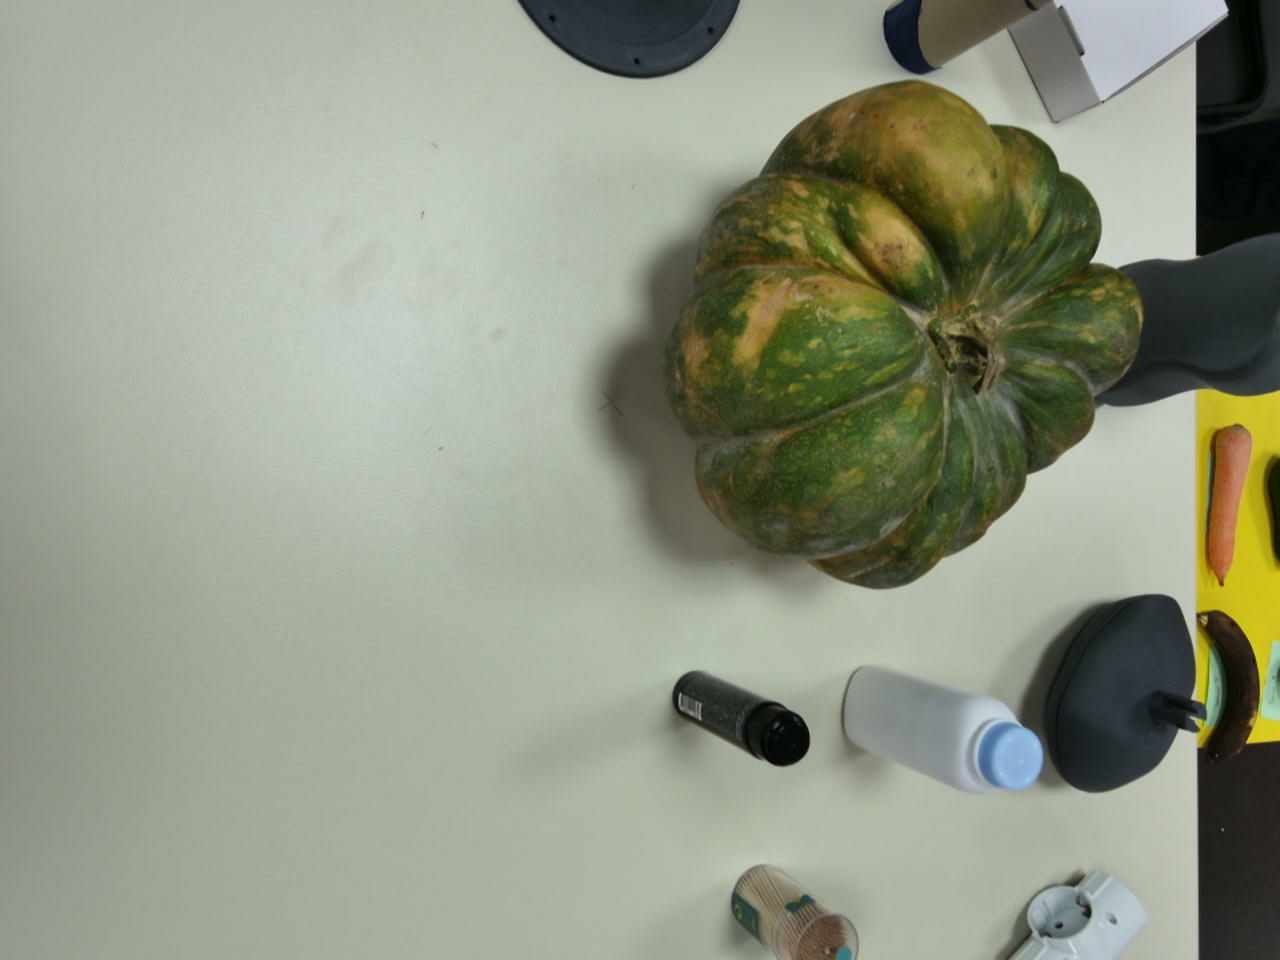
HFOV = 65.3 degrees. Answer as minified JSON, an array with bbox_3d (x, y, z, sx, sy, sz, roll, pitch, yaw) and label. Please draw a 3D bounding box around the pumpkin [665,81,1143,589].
[{"bbox_3d":[0.137,-0.072,0.533,0.237,0.173,0.270,39,77,-18],"label":"pumpkin"}]
